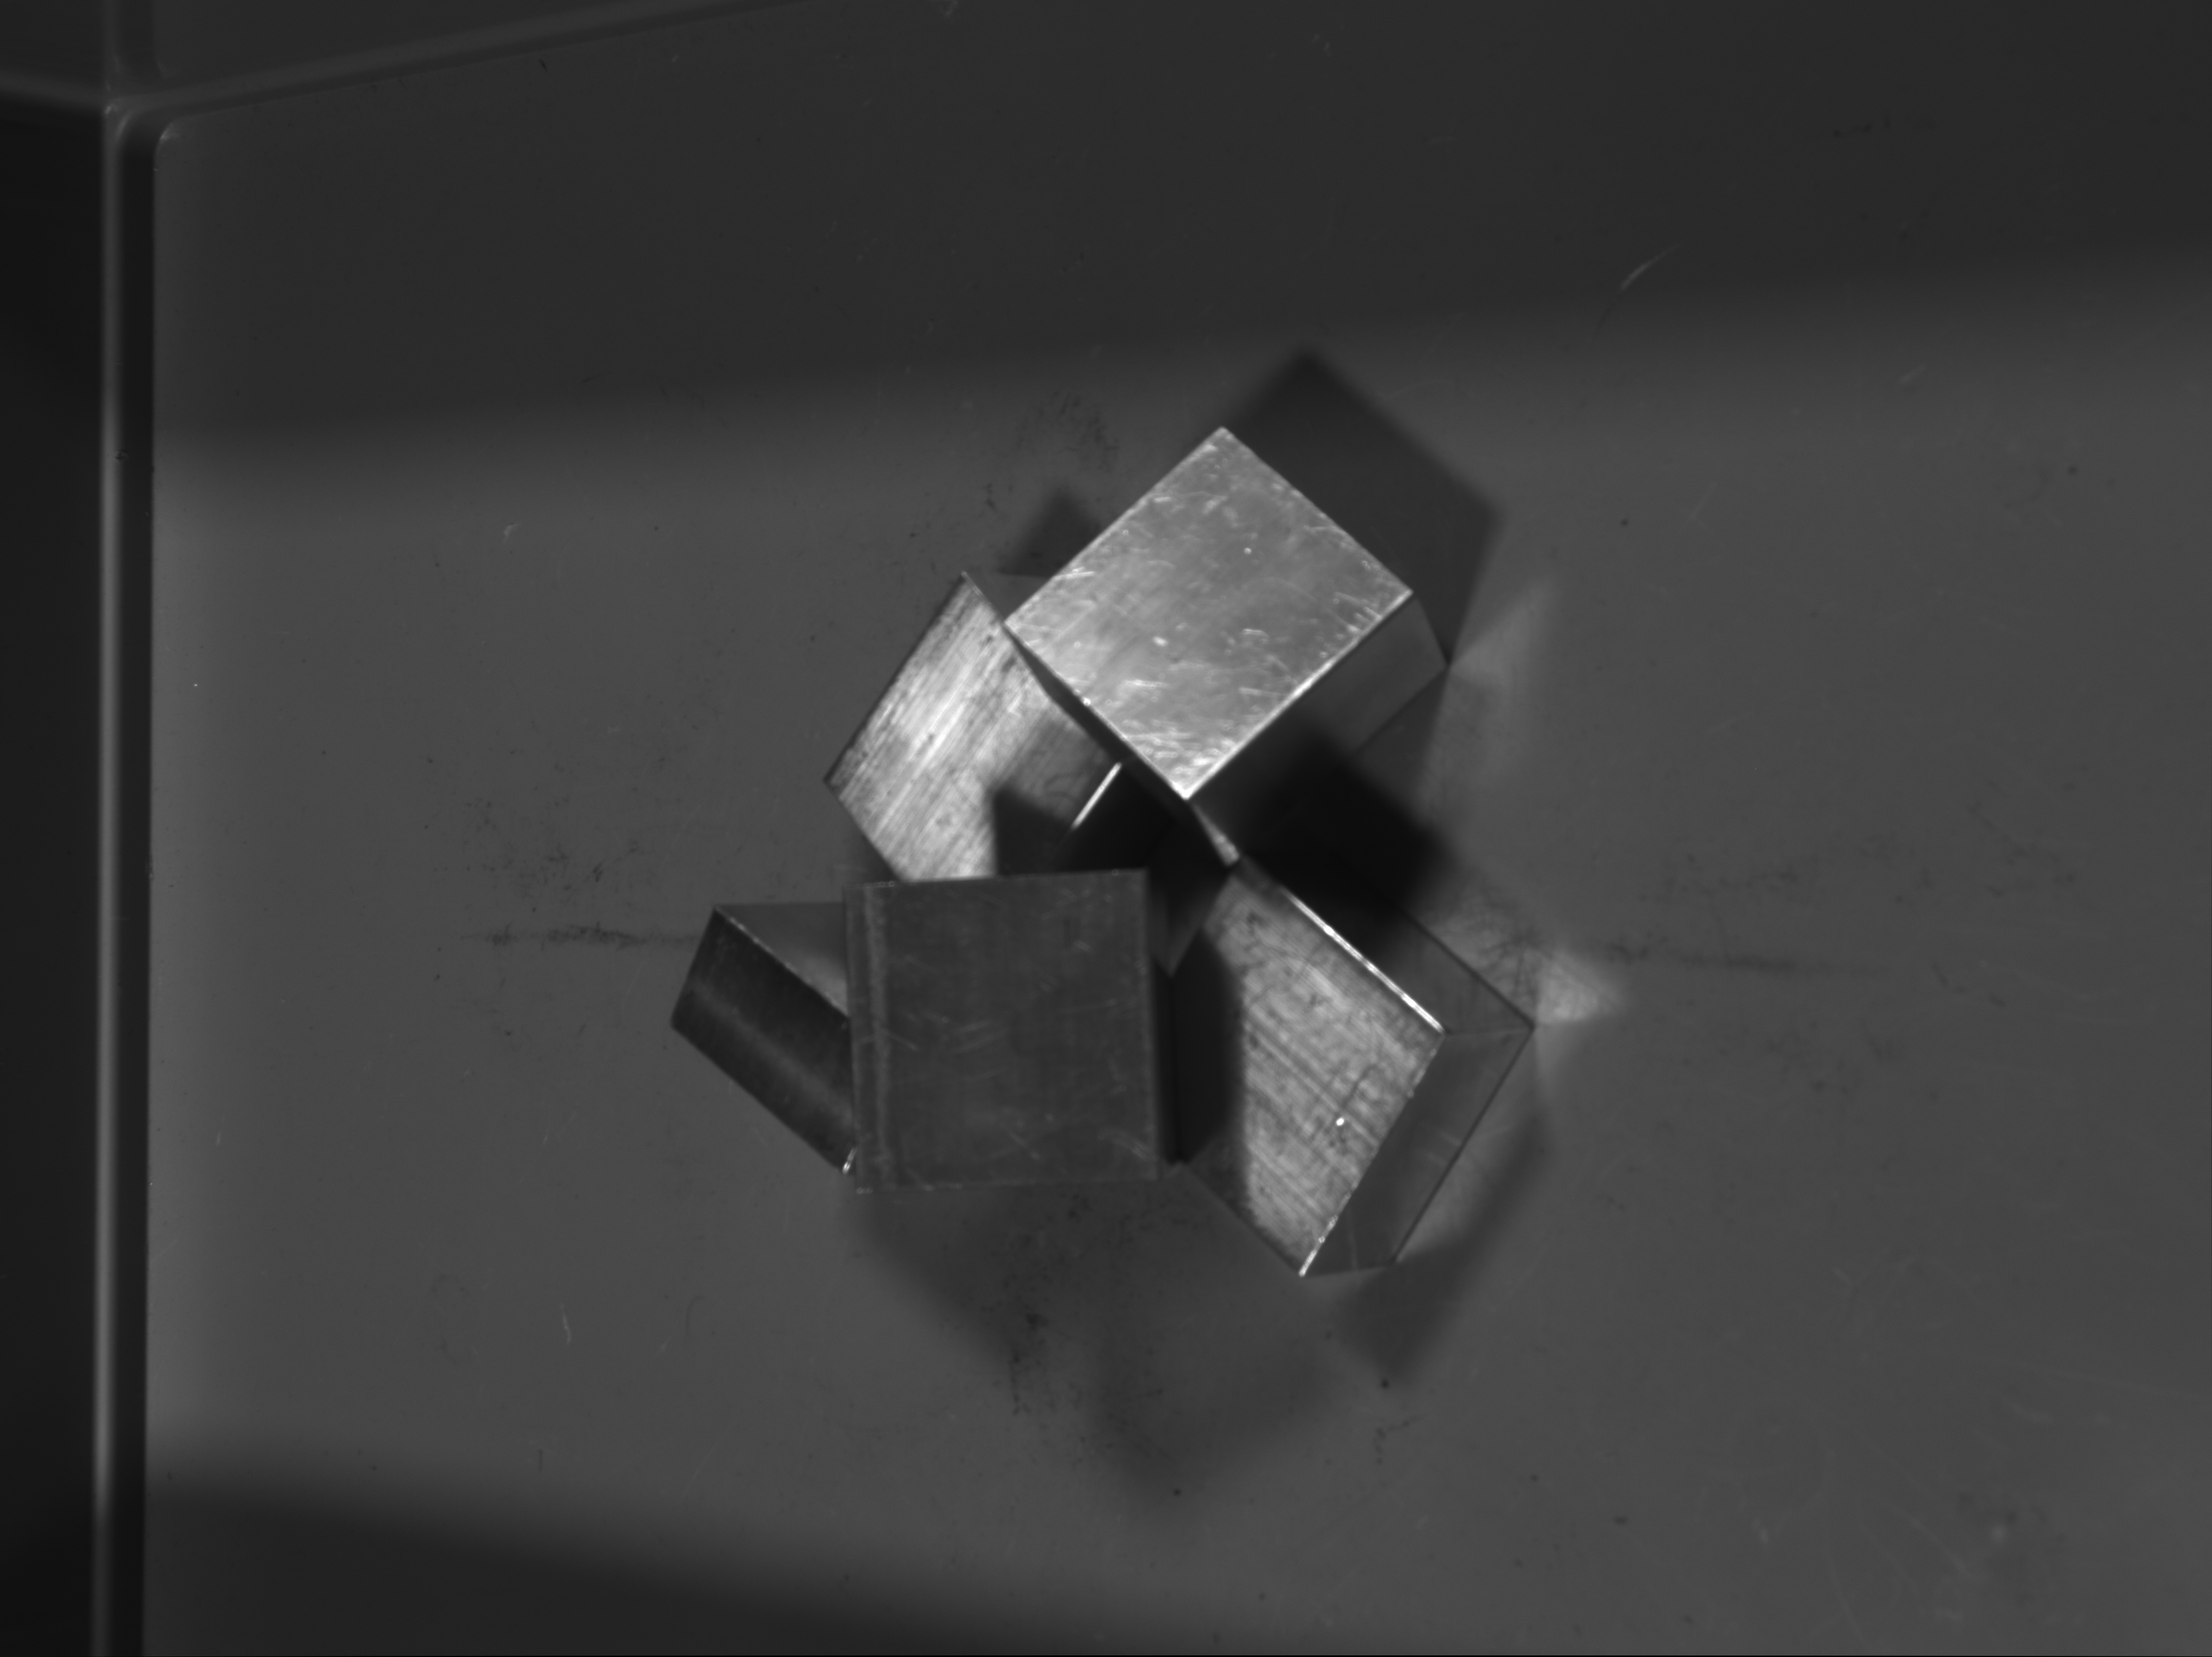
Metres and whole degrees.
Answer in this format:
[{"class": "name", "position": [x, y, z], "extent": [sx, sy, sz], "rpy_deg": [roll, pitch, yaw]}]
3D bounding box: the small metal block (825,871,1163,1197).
[{"class": "small metal block", "position": [-0.018, 0.034, 0.602], "extent": [0.050, 0.025, 0.050], "rpy_deg": [-3, 87, 7]}]

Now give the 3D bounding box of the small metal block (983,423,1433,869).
[{"class": "small metal block", "position": [0.017, -0.031, 0.607], "extent": [0.050, 0.025, 0.050], "rpy_deg": [-42, 60, -6]}]

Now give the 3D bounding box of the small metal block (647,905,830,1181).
[{"class": "small metal block", "position": [-0.044, 0.037, 0.654], "extent": [0.050, 0.050, 0.025], "rpy_deg": [36, 112, 34]}]

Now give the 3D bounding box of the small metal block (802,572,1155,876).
[{"class": "small metal block", "position": [-0.020, -0.010, 0.650], "extent": [0.050, 0.025, 0.050], "rpy_deg": [51, 119, 27]}]

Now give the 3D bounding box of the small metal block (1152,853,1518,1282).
[{"class": "small metal block", "position": [0.032, 0.039, 0.608], "extent": [0.050, 0.025, 0.050], "rpy_deg": [42, 115, 31]}]
